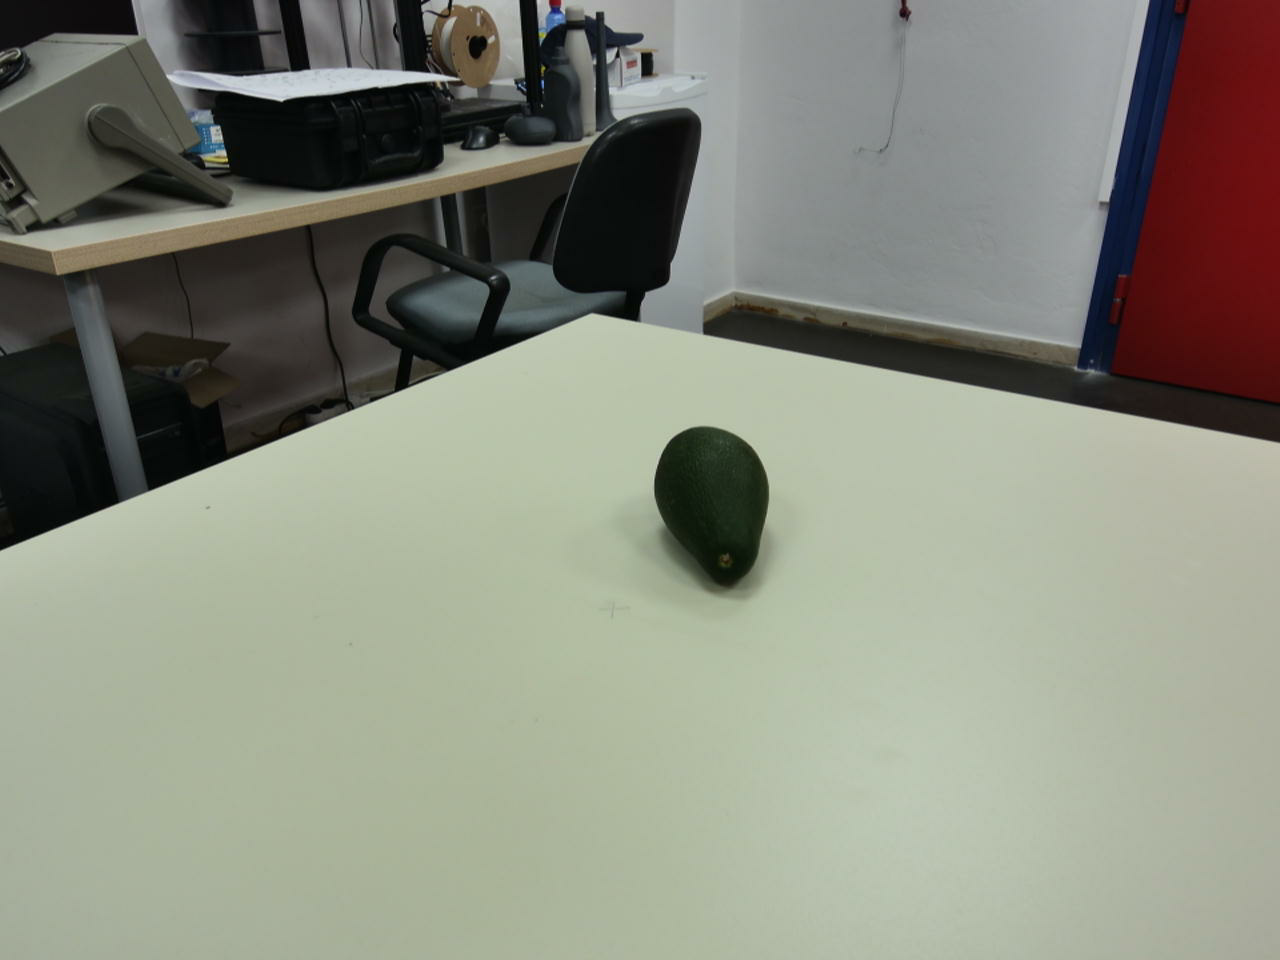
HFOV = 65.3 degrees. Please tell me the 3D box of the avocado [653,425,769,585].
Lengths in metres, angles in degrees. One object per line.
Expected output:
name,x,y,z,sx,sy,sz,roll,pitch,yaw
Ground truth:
avocado,0.041,0.010,0.602,0.073,0.071,0.109,7,26,12
